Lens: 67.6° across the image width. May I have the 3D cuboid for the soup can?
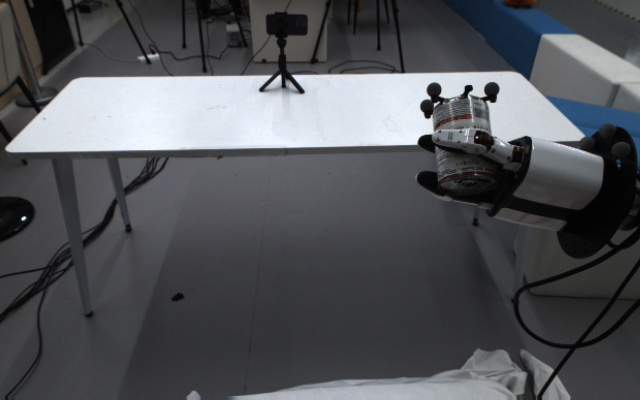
[{"bbox_3d":[0.173,-0.064,0.577,0.067,0.067,0.101,1,72,-2],"label":"soup can"}]
